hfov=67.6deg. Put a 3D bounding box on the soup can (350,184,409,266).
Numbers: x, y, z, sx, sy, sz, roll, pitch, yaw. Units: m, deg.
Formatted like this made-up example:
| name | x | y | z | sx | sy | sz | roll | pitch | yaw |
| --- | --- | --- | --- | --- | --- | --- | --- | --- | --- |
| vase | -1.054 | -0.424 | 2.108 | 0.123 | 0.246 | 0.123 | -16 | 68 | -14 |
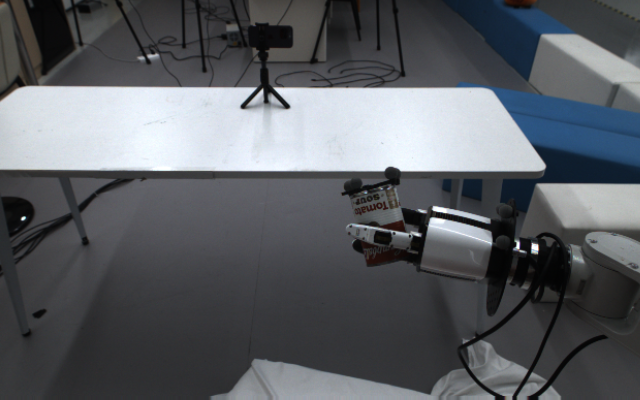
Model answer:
| name | x | y | z | sx | sy | sz | roll | pitch | yaw |
| --- | --- | --- | --- | --- | --- | --- | --- | --- | --- |
| soup can | 0.087 | 0.035 | 0.678 | 0.067 | 0.101 | 0.067 | -14 | -2 | -1 |
